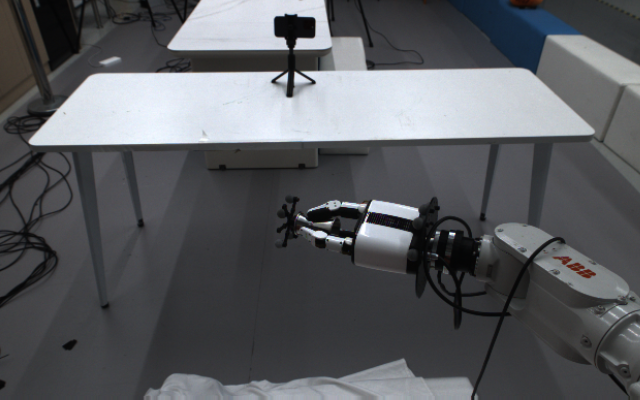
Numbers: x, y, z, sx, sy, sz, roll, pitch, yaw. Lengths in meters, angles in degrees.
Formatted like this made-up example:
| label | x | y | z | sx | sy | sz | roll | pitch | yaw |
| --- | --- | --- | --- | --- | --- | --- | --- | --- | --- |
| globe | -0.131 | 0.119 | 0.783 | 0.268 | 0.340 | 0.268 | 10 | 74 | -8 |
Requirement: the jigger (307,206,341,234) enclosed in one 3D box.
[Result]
| label | x | y | z | sx | sy | sz | roll | pitch | yaw |
| --- | --- | --- | --- | --- | --- | --- | --- | --- | --- |
| jigger | 0.000 | 0.043 | 0.814 | 0.071 | 0.043 | 0.043 | 10 | 35 | 22 |
